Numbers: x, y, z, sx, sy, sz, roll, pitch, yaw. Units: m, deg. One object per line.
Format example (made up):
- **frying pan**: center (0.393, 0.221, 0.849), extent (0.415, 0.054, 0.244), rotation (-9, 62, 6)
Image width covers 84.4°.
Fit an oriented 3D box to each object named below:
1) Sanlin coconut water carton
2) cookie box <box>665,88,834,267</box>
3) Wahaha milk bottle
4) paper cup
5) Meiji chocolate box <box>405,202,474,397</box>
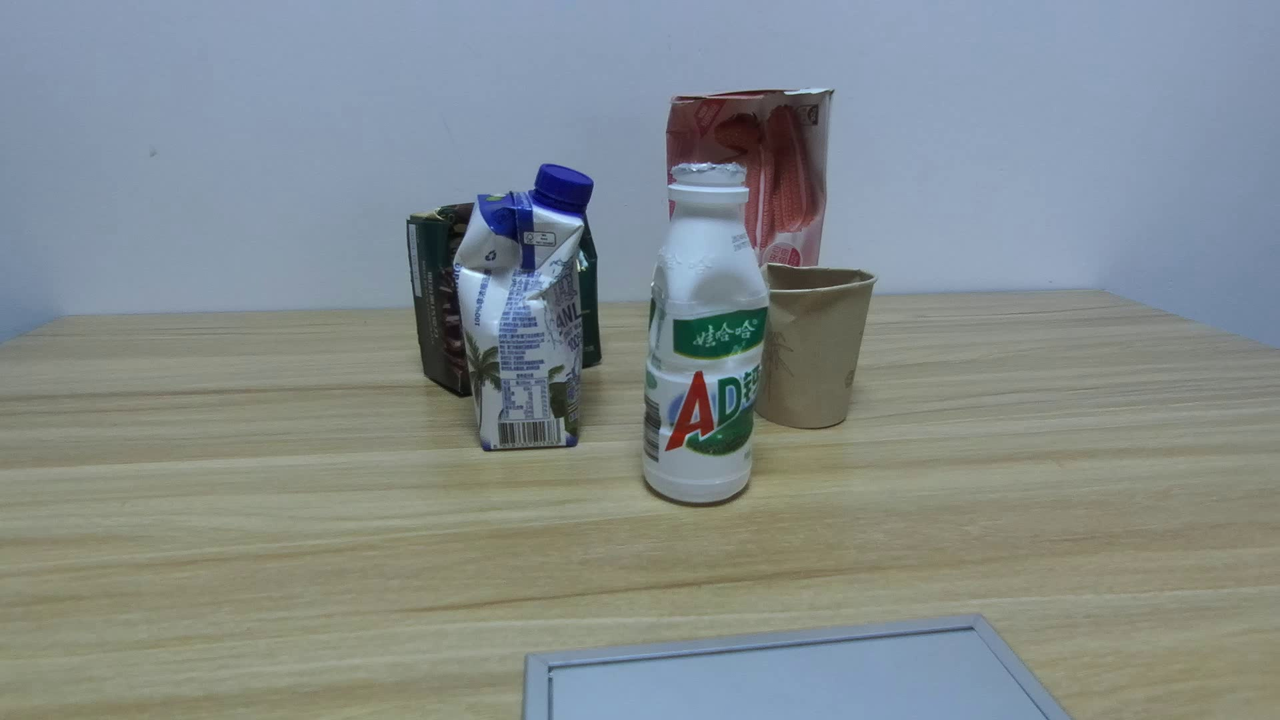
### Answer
- **Sanlin coconut water carton**: center (-0.060, -0.027, 0.372), extent (0.070, 0.143, 0.060), rotation (-1, 21, -7)
- **cookie box**: center (0.071, -0.091, 0.493), extent (0.118, 0.184, 0.055), rotation (6, 19, 18)
- **Wahaha milk bottle**: center (0.029, -0.007, 0.331), extent (0.055, 0.149, 0.055), rotation (2, 5, 0)
- **paper cup**: center (0.098, -0.008, 0.407), extent (0.071, 0.084, 0.066), rotation (2, 19, 8)
- **Meiji chocolate box**: center (-0.096, -0.045, 0.496), extent (0.114, 0.110, 0.058), rotation (-14, 19, -42)
